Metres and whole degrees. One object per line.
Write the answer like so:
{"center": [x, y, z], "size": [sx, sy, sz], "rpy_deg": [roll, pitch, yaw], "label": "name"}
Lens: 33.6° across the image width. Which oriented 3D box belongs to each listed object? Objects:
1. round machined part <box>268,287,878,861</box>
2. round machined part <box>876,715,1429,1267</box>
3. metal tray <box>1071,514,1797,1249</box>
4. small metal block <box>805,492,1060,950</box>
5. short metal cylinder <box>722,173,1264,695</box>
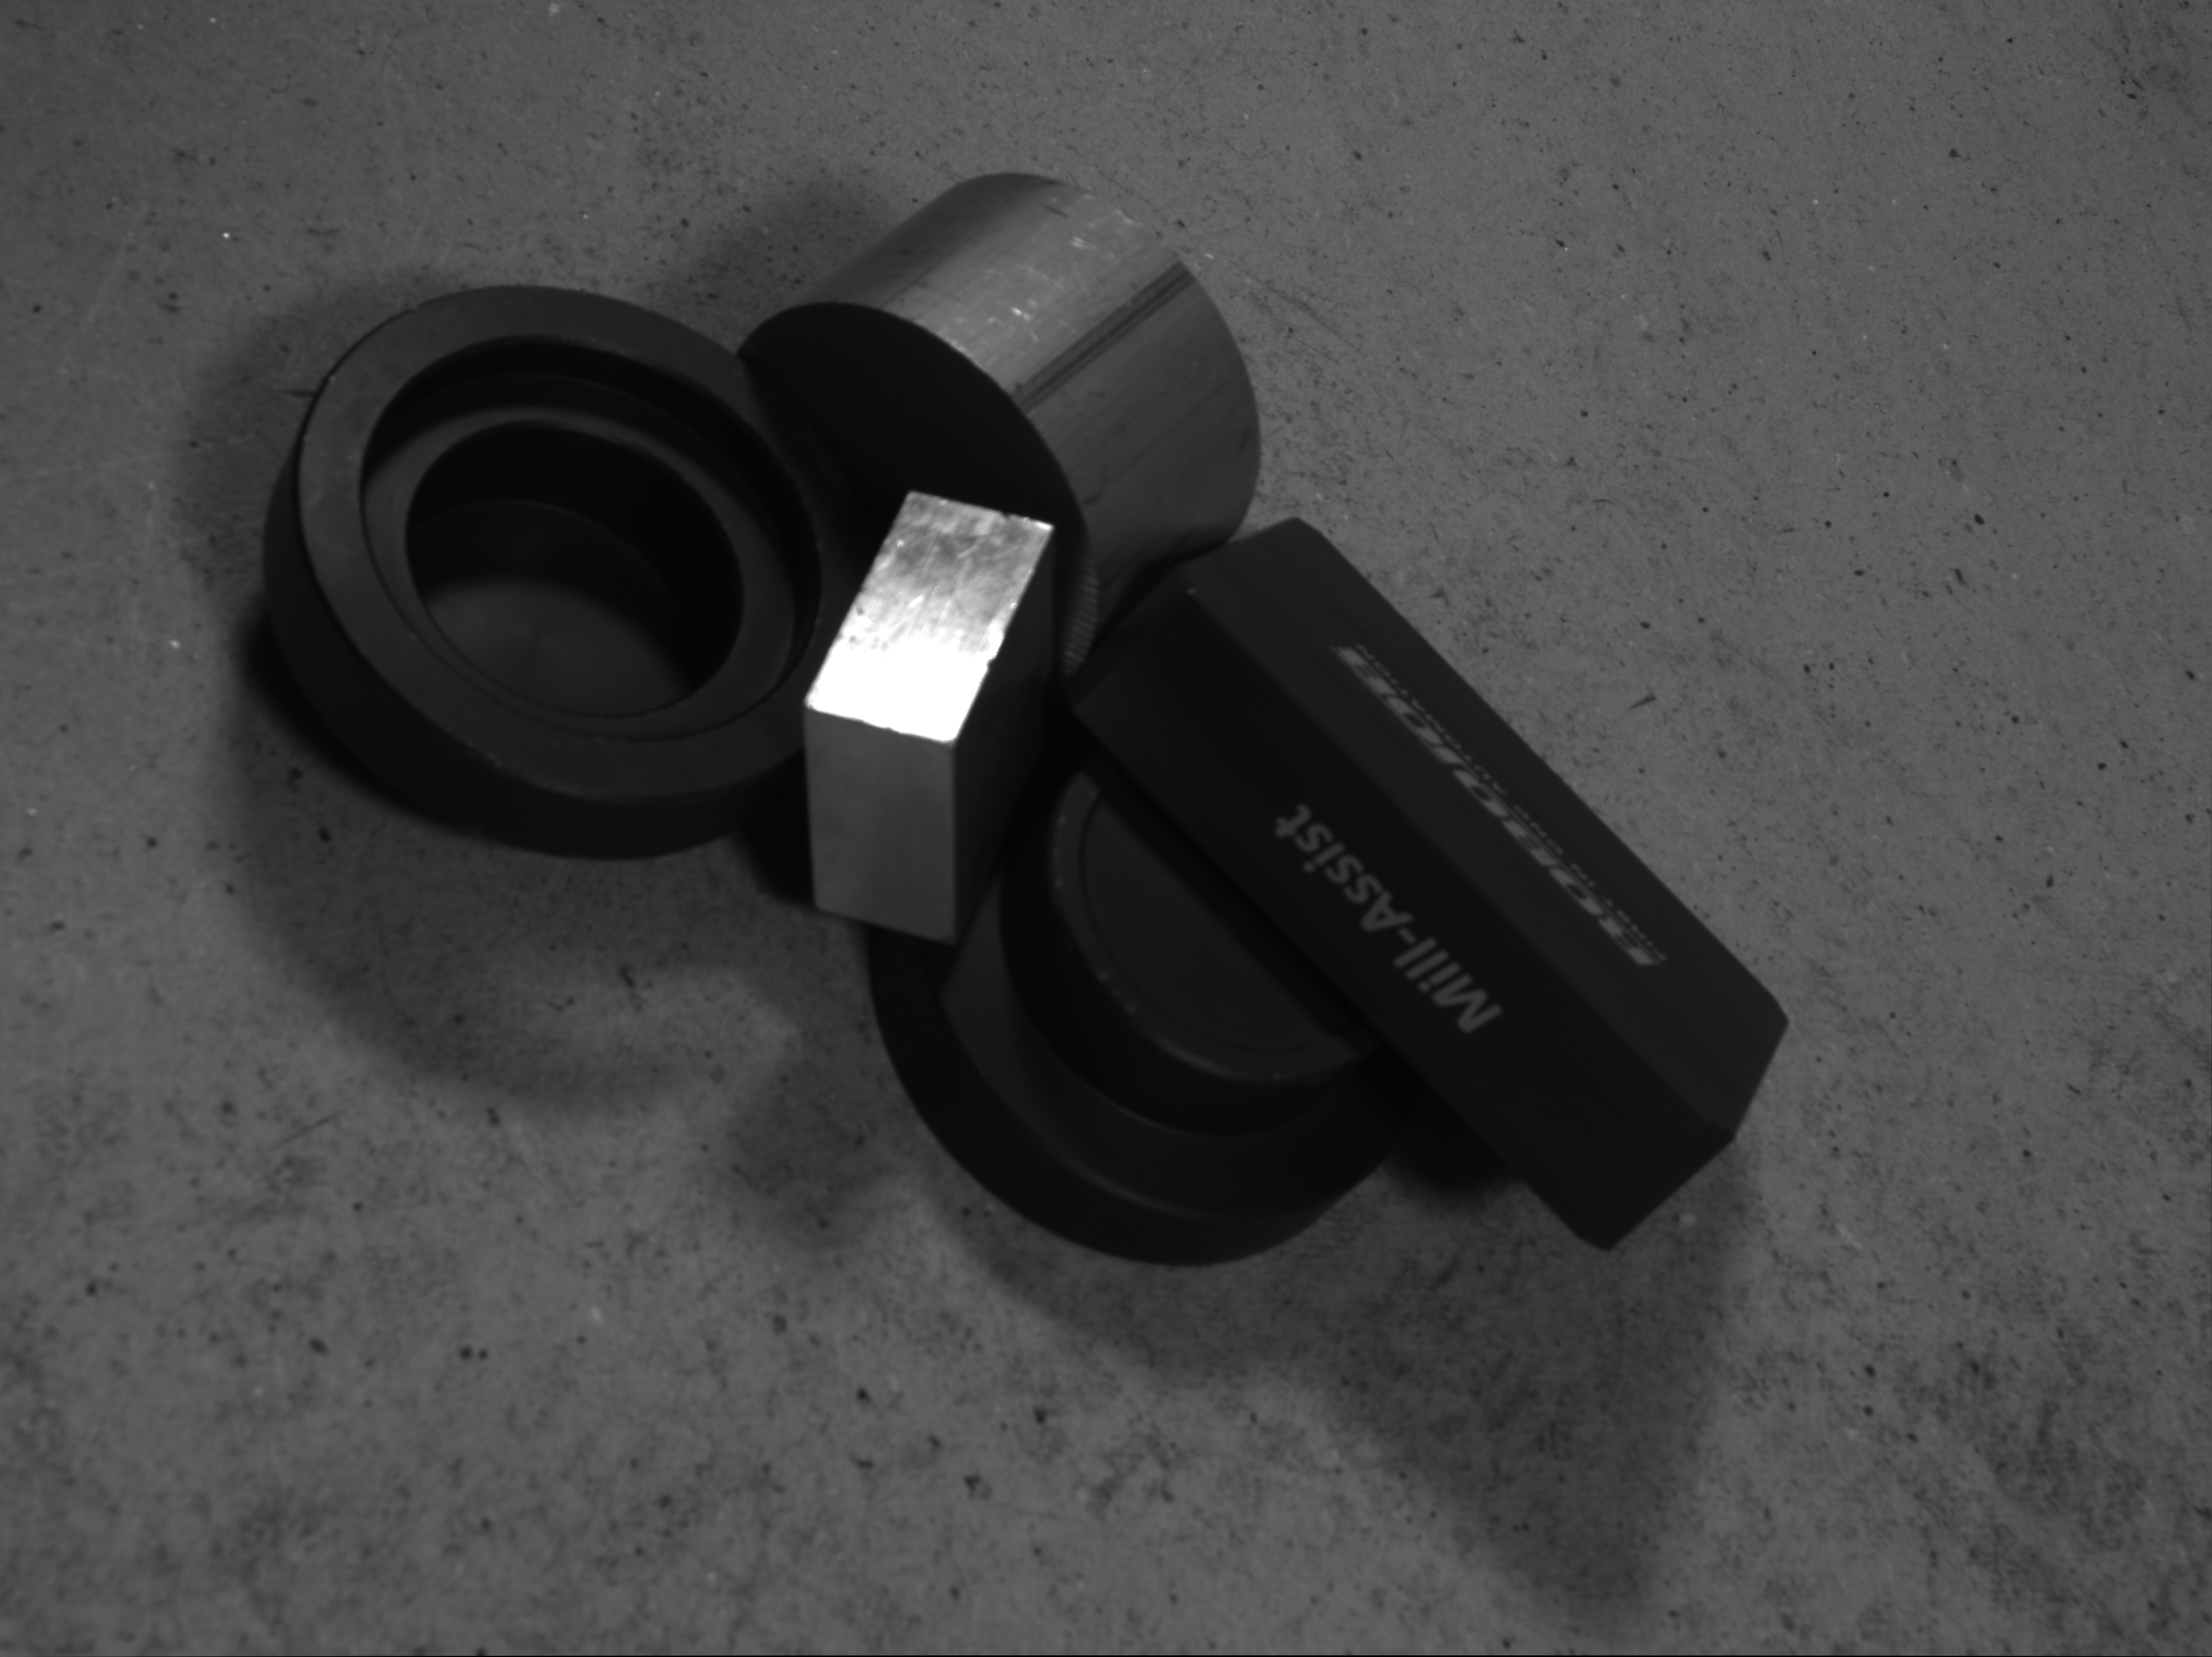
{"center": [-0.089, -0.037, 0.604], "size": [0.098, 0.042, 0.098], "rpy_deg": [14, 56, -21], "label": "round machined part"}
{"center": [0.014, 0.021, 0.623], "size": [0.098, 0.042, 0.098], "rpy_deg": [14, 56, -21], "label": "round machined part"}
{"center": [0.060, 0.005, 0.637], "size": [0.130, 0.030, 0.090], "rpy_deg": [46, 19, 4], "label": "metal tray"}
{"center": [-0.027, -0.017, 0.597], "size": [0.025, 0.050, 0.050], "rpy_deg": [14, 51, 10], "label": "small metal block"}
{"center": [-0.020, -0.066, 0.636], "size": [0.080, 0.080, 0.050], "rpy_deg": [44, 51, 3], "label": "short metal cylinder"}
